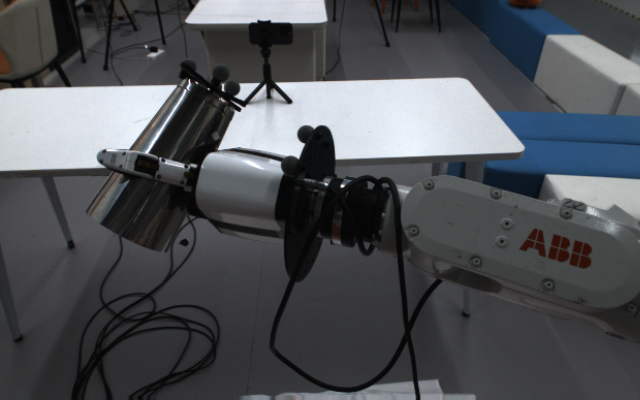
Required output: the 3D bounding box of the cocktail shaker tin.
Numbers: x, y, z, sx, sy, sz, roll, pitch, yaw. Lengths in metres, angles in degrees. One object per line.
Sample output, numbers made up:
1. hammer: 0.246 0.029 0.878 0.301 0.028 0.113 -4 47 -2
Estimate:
1. cocktail shaker tin: -0.162 -0.043 0.520 0.093 0.093 0.170 26 83 31
